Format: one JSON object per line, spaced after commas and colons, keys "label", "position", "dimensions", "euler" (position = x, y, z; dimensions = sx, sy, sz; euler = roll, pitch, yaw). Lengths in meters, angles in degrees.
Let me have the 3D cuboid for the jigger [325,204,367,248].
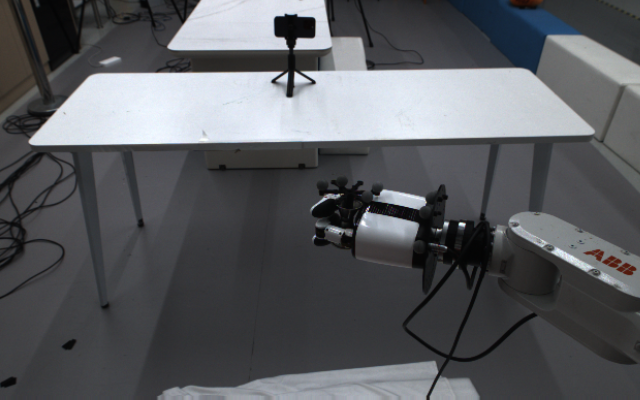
{"label": "jigger", "position": [0.044, 0.034, 0.731], "dimensions": [0.043, 0.071, 0.043], "euler": [3, 25, -1]}
